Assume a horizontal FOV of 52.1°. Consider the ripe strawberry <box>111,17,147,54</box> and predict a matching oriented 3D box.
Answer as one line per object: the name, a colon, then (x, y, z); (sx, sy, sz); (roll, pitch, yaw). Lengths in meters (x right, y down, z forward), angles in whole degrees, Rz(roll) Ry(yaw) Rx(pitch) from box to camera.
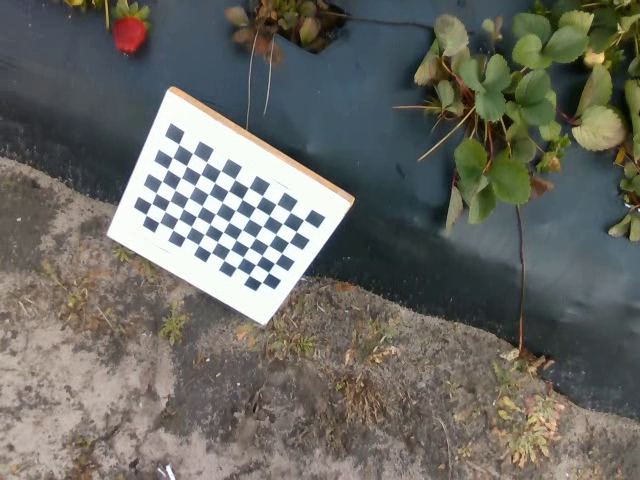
ripe strawberry: (-0.243, -0.255, 0.809); (0.045, 0.055, 0.042); (-10, -35, 23)
